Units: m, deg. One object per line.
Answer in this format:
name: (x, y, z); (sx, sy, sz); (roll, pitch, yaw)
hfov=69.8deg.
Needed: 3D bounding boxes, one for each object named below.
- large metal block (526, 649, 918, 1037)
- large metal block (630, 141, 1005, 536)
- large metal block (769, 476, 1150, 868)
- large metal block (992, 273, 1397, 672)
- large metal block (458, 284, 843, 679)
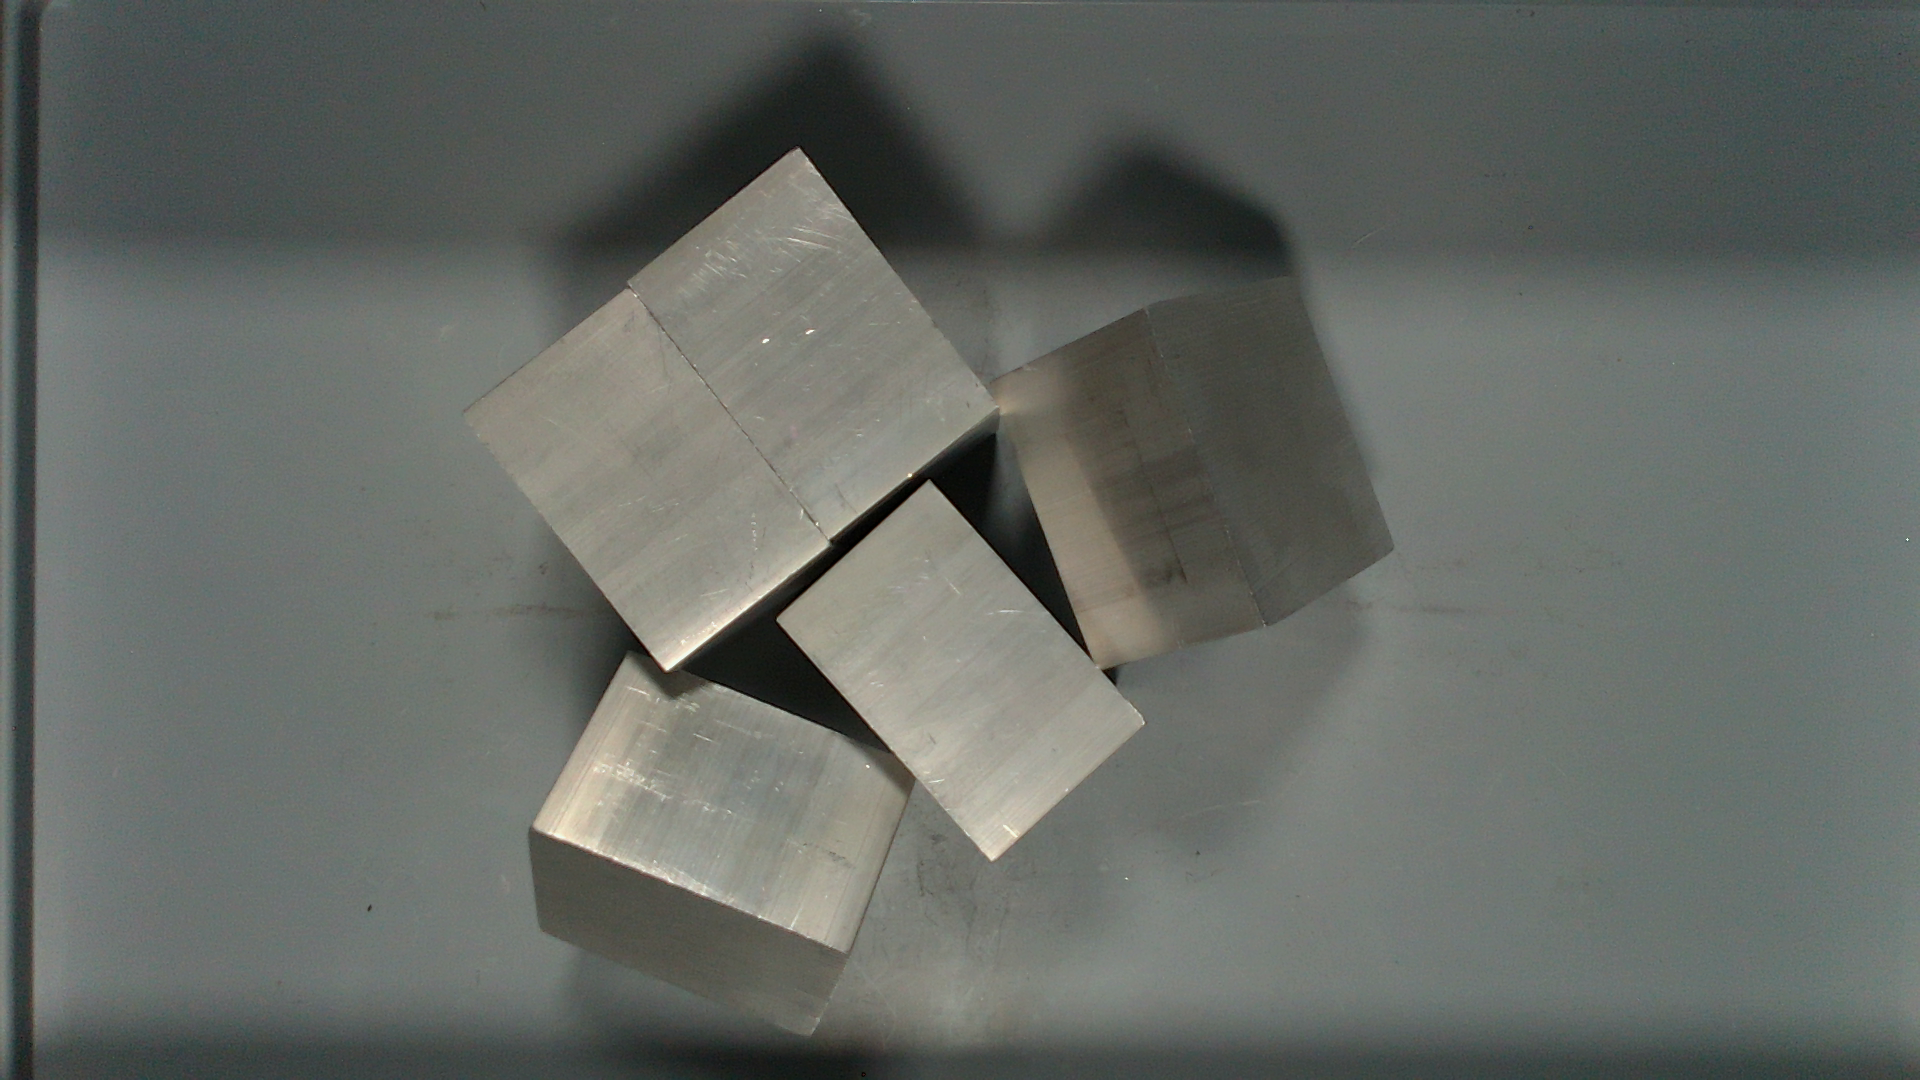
large metal block: (-0.062, 0.082, 0.360); (0.080, 0.080, 0.050); (22, 56, 0)
large metal block: (-0.034, -0.048, 0.366); (0.050, 0.080, 0.080); (-39, 90, 0)
large metal block: (0.000, 0.031, 0.366); (0.050, 0.080, 0.080); (-42, 90, 0)
large metal block: (0.063, -0.019, 0.361); (0.050, 0.080, 0.080); (-21, 90, 40)
large metal block: (-0.075, -0.014, 0.367); (0.050, 0.080, 0.080); (-38, 90, 0)
